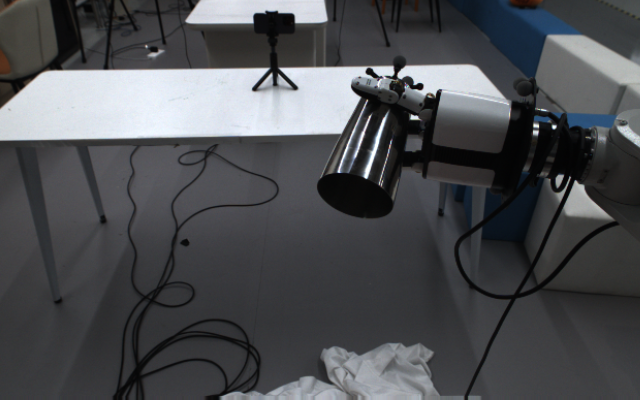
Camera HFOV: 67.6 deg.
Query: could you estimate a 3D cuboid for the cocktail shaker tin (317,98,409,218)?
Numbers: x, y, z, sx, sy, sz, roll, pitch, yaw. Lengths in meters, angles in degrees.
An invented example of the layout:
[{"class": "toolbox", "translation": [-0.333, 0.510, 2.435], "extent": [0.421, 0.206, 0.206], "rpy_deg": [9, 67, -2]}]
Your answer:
[{"class": "cocktail shaker tin", "translation": [0.066, -0.076, 0.603], "extent": [0.093, 0.093, 0.170], "rpy_deg": [13, 59, 16]}]
